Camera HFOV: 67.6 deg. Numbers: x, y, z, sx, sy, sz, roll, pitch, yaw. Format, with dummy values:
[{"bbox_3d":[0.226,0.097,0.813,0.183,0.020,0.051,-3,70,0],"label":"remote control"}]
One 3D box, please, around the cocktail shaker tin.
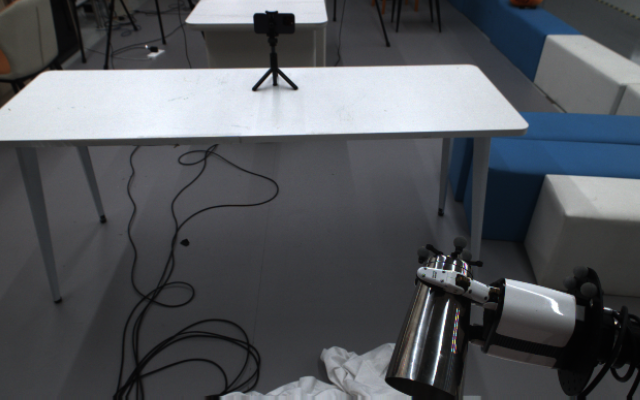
[{"bbox_3d":[0.150,0.157,0.620,0.093,0.093,0.170,13,59,15],"label":"cocktail shaker tin"}]
